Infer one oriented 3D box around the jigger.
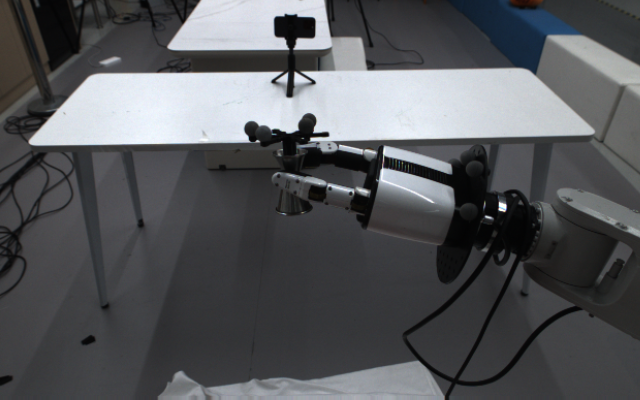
[{"bbox_3d":[-0.031,-0.021,0.548,0.043,0.071,0.043,-2,19,1],"label":"jigger"}]
